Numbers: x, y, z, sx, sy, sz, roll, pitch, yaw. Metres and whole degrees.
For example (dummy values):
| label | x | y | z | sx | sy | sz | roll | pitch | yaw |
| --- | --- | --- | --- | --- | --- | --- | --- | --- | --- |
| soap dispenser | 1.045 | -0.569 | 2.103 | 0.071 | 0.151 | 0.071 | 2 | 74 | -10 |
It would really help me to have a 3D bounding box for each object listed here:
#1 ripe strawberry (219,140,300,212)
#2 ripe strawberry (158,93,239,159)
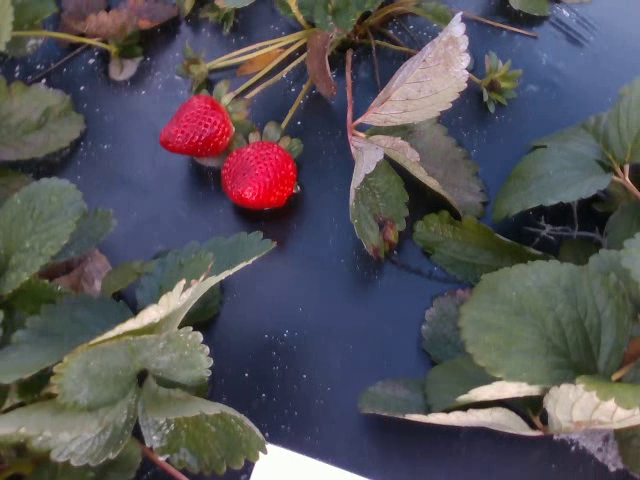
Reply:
| label | x | y | z | sx | sy | sz | roll | pitch | yaw |
| --- | --- | --- | --- | --- | --- | --- | --- | --- | --- |
| ripe strawberry | -0.043 | -0.043 | 0.385 | 0.057 | 0.051 | 0.064 | -3 | 32 | 9 |
| ripe strawberry | -0.086 | -0.075 | 0.416 | 0.048 | 0.041 | 0.055 | 30 | 51 | 23 |
